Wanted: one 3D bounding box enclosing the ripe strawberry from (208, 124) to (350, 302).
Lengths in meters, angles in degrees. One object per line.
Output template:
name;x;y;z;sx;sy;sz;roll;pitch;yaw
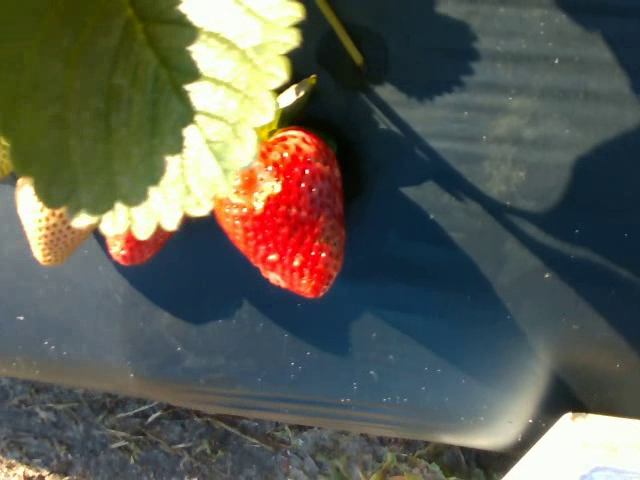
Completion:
ripe strawberry;-0.010;-0.007;0.207;0.052;0.067;0.057;-10;-15;-47
